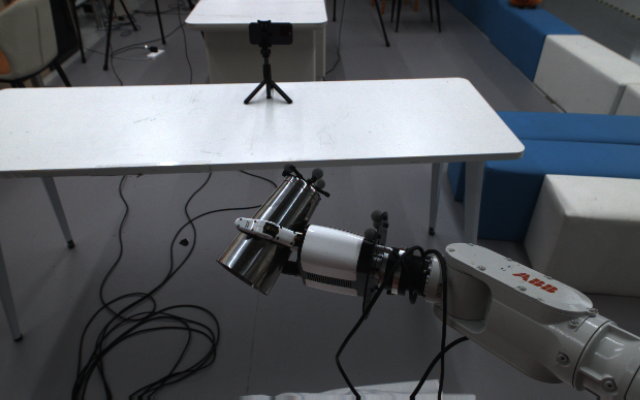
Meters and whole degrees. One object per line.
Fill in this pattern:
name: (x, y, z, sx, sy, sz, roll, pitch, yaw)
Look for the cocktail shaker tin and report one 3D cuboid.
cocktail shaker tin: (-0.072, 0.044, 0.741, 0.093, 0.093, 0.170, 24, 70, 28)
